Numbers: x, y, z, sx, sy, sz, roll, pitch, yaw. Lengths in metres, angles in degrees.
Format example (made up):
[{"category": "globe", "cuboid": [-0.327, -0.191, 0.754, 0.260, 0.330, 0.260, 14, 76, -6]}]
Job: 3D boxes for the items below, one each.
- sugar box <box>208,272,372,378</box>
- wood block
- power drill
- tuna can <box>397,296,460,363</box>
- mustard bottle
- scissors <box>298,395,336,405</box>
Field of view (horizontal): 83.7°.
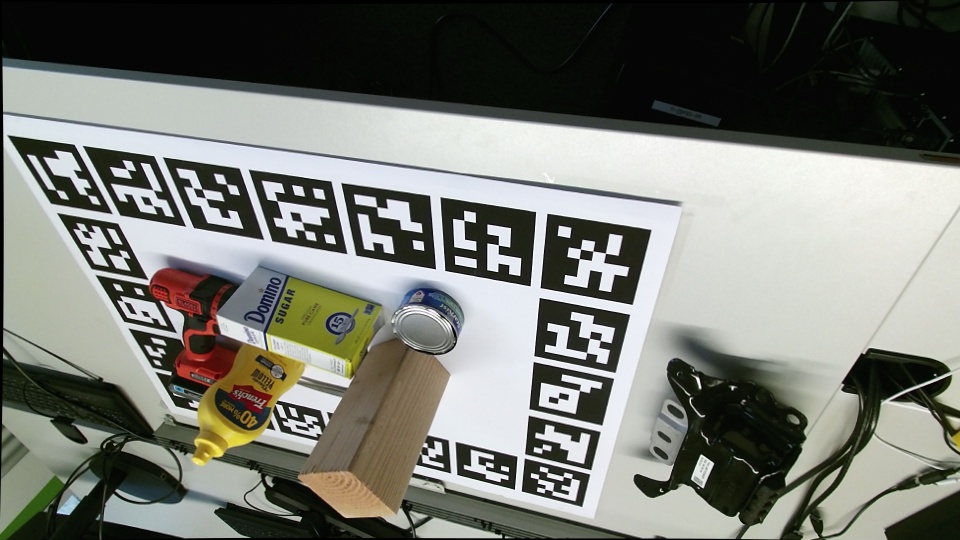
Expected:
[{"category": "sugar box", "cuboid": [-0.236, 0.070, 0.679, 0.177, 0.092, 0.045, 19, 132, 5]}, {"category": "wood block", "cuboid": [-0.128, 0.196, 0.678, 0.091, 0.205, 0.090, -16, 118, 27]}, {"category": "power drill", "cuboid": [-0.371, 0.108, 0.771, 0.185, 0.057, 0.187, 19, 123, 3]}, {"category": "tuna can", "cuboid": [-0.069, 0.075, 0.660, 0.086, 0.033, 0.086, 9, 127, 12]}, {"category": "mustard bottle", "cuboid": [-0.340, 0.190, 0.748, 0.058, 0.191, 0.096, -29, 112, 32]}, {"category": "scissors", "cuboid": [-0.186, 0.214, 0.819, 0.203, 0.016, 0.088, 11, 132, 10]}]
